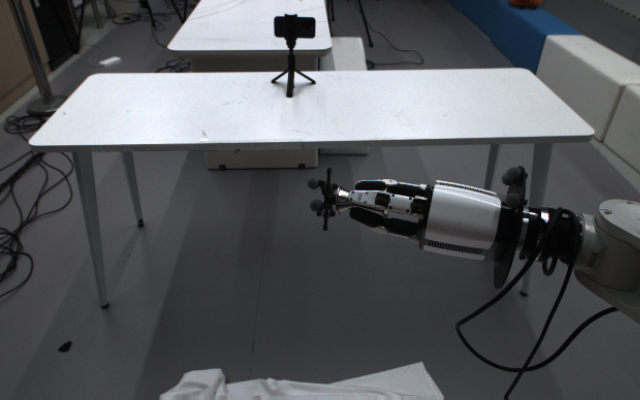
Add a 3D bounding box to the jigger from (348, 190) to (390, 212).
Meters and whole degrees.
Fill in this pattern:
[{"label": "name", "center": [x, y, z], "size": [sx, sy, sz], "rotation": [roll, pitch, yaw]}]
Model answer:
[{"label": "jigger", "center": [0.067, -0.003, 0.672], "size": [0.071, 0.043, 0.043], "rotation": [2, 34, 16]}]
